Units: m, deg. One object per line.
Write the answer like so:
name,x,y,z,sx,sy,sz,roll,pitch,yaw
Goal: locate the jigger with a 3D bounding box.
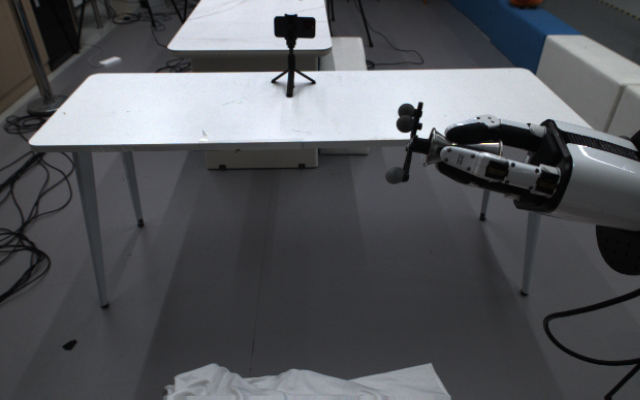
jigger,0.149,-0.049,0.489,0.071,0.043,0.043,12,36,5
